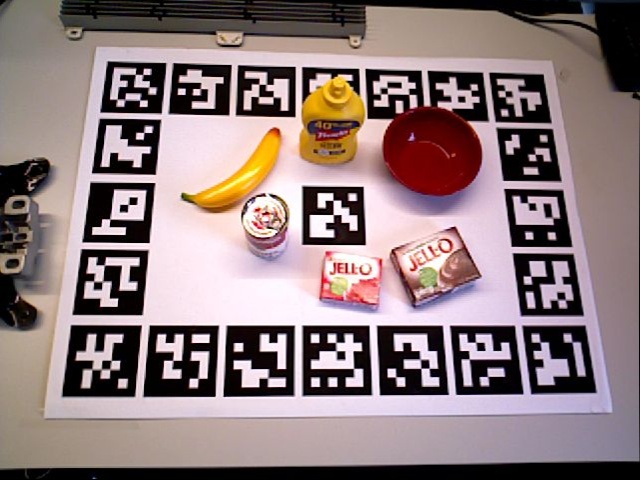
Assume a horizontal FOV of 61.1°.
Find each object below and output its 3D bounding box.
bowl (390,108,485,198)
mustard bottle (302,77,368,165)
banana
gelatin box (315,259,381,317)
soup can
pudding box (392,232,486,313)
[{"bbox_3d":[0.188,-0.130,0.876,0.161,0.056,0.160,1,70,-3],"label":"bowl"},{"bbox_3d":[0.027,-0.183,0.794,0.095,0.195,0.058,3,67,-5],"label":"mustard bottle"},{"bbox_3d":[-0.127,-0.120,0.855,0.074,0.039,0.195,40,73,20],"label":"banana"},{"bbox_3d":[0.042,0.071,0.807,0.089,0.030,0.073,9,74,-1],"label":"gelatin box"},{"bbox_3d":[-0.084,-0.027,0.783,0.067,0.104,0.067,2,68,-6],"label":"soup can"},{"bbox_3d":[0.178,0.049,0.820,0.112,0.039,0.090,-21,79,-11],"label":"pudding box"}]
